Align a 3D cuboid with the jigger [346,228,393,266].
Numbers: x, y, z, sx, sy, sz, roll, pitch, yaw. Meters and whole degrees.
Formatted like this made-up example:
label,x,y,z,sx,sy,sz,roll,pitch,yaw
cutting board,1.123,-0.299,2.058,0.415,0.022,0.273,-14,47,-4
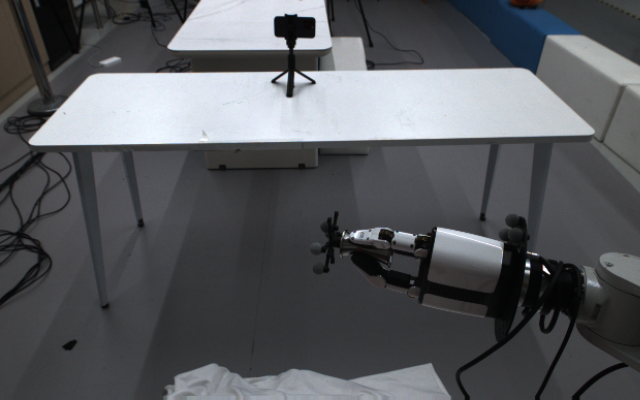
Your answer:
label,x,y,z,sx,sy,sz,roll,pitch,yaw
jigger,0.071,0.059,0.656,0.071,0.043,0.043,8,35,14
